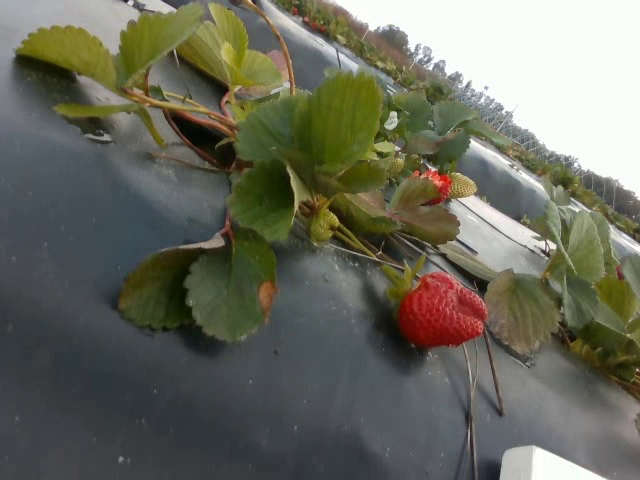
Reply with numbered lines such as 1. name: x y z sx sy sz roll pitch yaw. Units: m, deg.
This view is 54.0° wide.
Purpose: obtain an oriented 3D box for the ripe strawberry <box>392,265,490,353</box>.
1. ripe strawberry: 0.018 0.011 0.091 0.015 0.013 0.017 16 45 32
